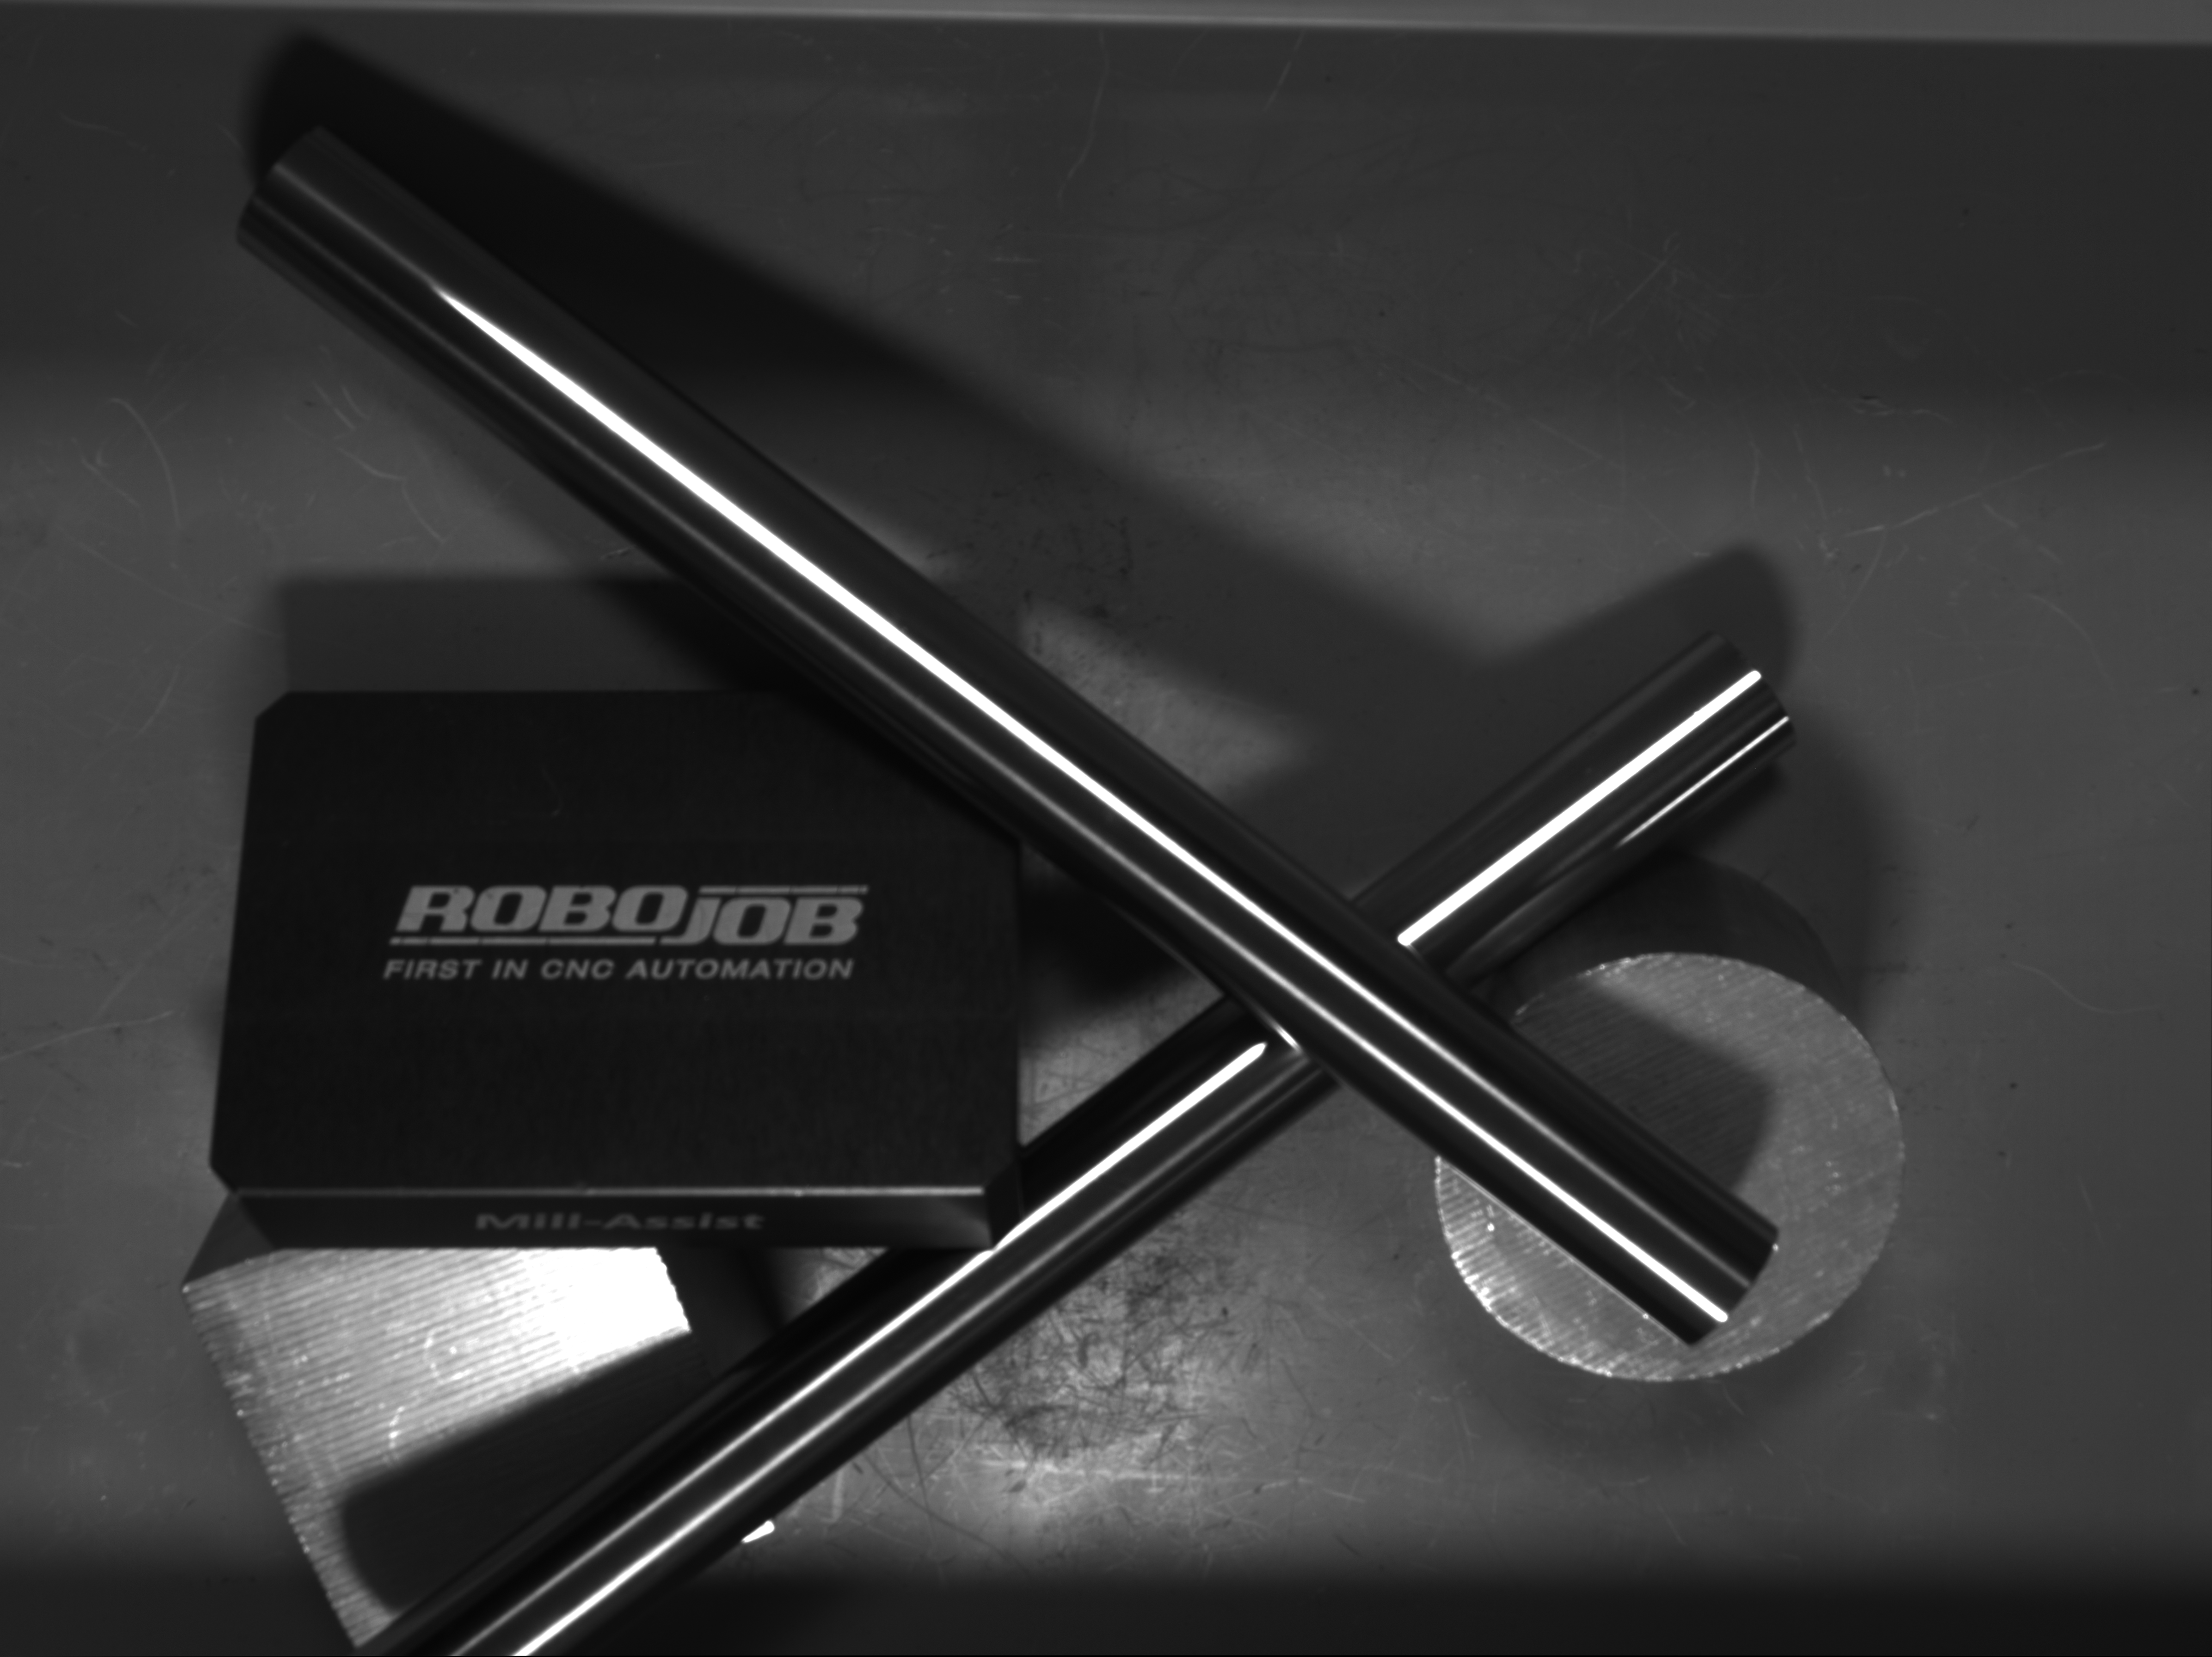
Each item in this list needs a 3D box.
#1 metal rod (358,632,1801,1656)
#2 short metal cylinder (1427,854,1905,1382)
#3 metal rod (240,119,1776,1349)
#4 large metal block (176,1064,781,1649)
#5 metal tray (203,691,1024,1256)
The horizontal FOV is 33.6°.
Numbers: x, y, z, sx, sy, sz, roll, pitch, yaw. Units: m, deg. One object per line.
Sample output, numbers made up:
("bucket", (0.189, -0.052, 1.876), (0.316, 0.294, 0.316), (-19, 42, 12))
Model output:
("metal rod", (-0.008, 0.066, 0.627), (0.300, 0.025, 0.025), (-37, 107, -2))
("short metal cylinder", (0.096, 0.050, 0.647), (0.080, 0.050, 0.080), (0, 110, -1))
("metal rod", (-0.016, -0.015, 0.605), (0.300, 0.025, 0.025), (38, 106, 0))
("large metal block", (-0.108, 0.093, 0.658), (0.080, 0.050, 0.080), (-18, 109, 6))
("metal tray", (-0.079, 0.024, 0.618), (0.130, 0.030, 0.090), (1, 66, 1))
